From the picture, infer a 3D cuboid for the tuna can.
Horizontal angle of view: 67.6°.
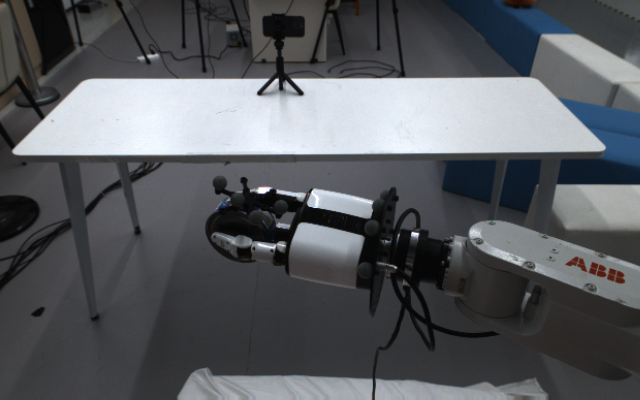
[{"bbox_3d":[-0.099,0.038,0.621,0.085,0.085,0.034,9,35,10],"label":"tuna can"}]
